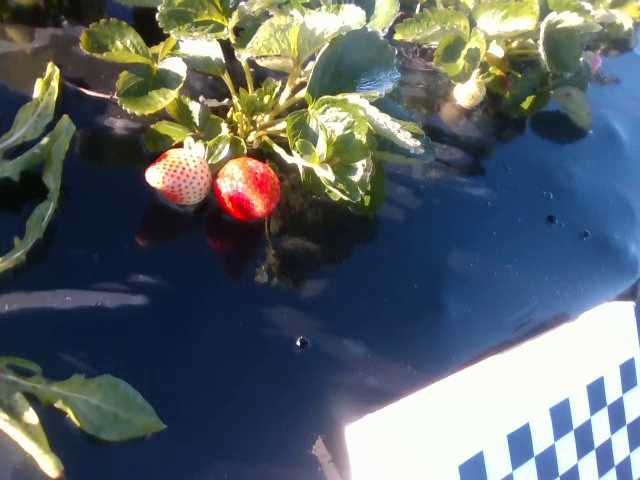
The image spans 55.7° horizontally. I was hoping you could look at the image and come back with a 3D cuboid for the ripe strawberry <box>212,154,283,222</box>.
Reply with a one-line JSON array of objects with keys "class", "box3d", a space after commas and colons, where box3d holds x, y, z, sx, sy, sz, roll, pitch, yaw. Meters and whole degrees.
[{"class": "ripe strawberry", "box3d": [-0.034, -0.025, 0.316, 0.040, 0.038, 0.055, -26, 17, -7]}]
